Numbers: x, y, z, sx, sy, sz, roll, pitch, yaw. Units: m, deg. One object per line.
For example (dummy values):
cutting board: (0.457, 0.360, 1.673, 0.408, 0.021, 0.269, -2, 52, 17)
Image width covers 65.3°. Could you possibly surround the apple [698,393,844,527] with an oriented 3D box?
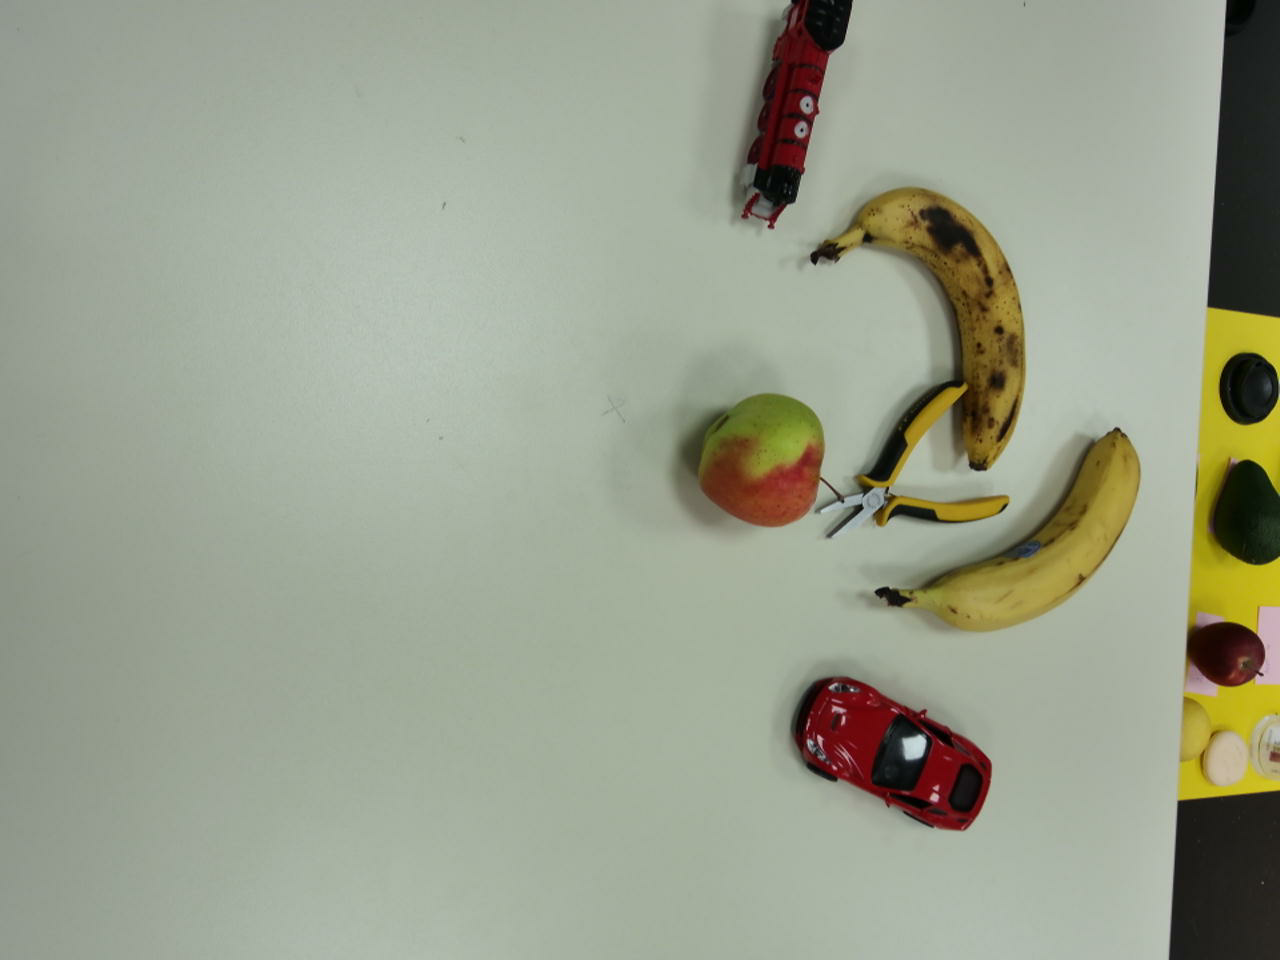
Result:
apple: (0.070, -0.010, 0.561, 0.075, 0.074, 0.075, -16, 96, -21)
